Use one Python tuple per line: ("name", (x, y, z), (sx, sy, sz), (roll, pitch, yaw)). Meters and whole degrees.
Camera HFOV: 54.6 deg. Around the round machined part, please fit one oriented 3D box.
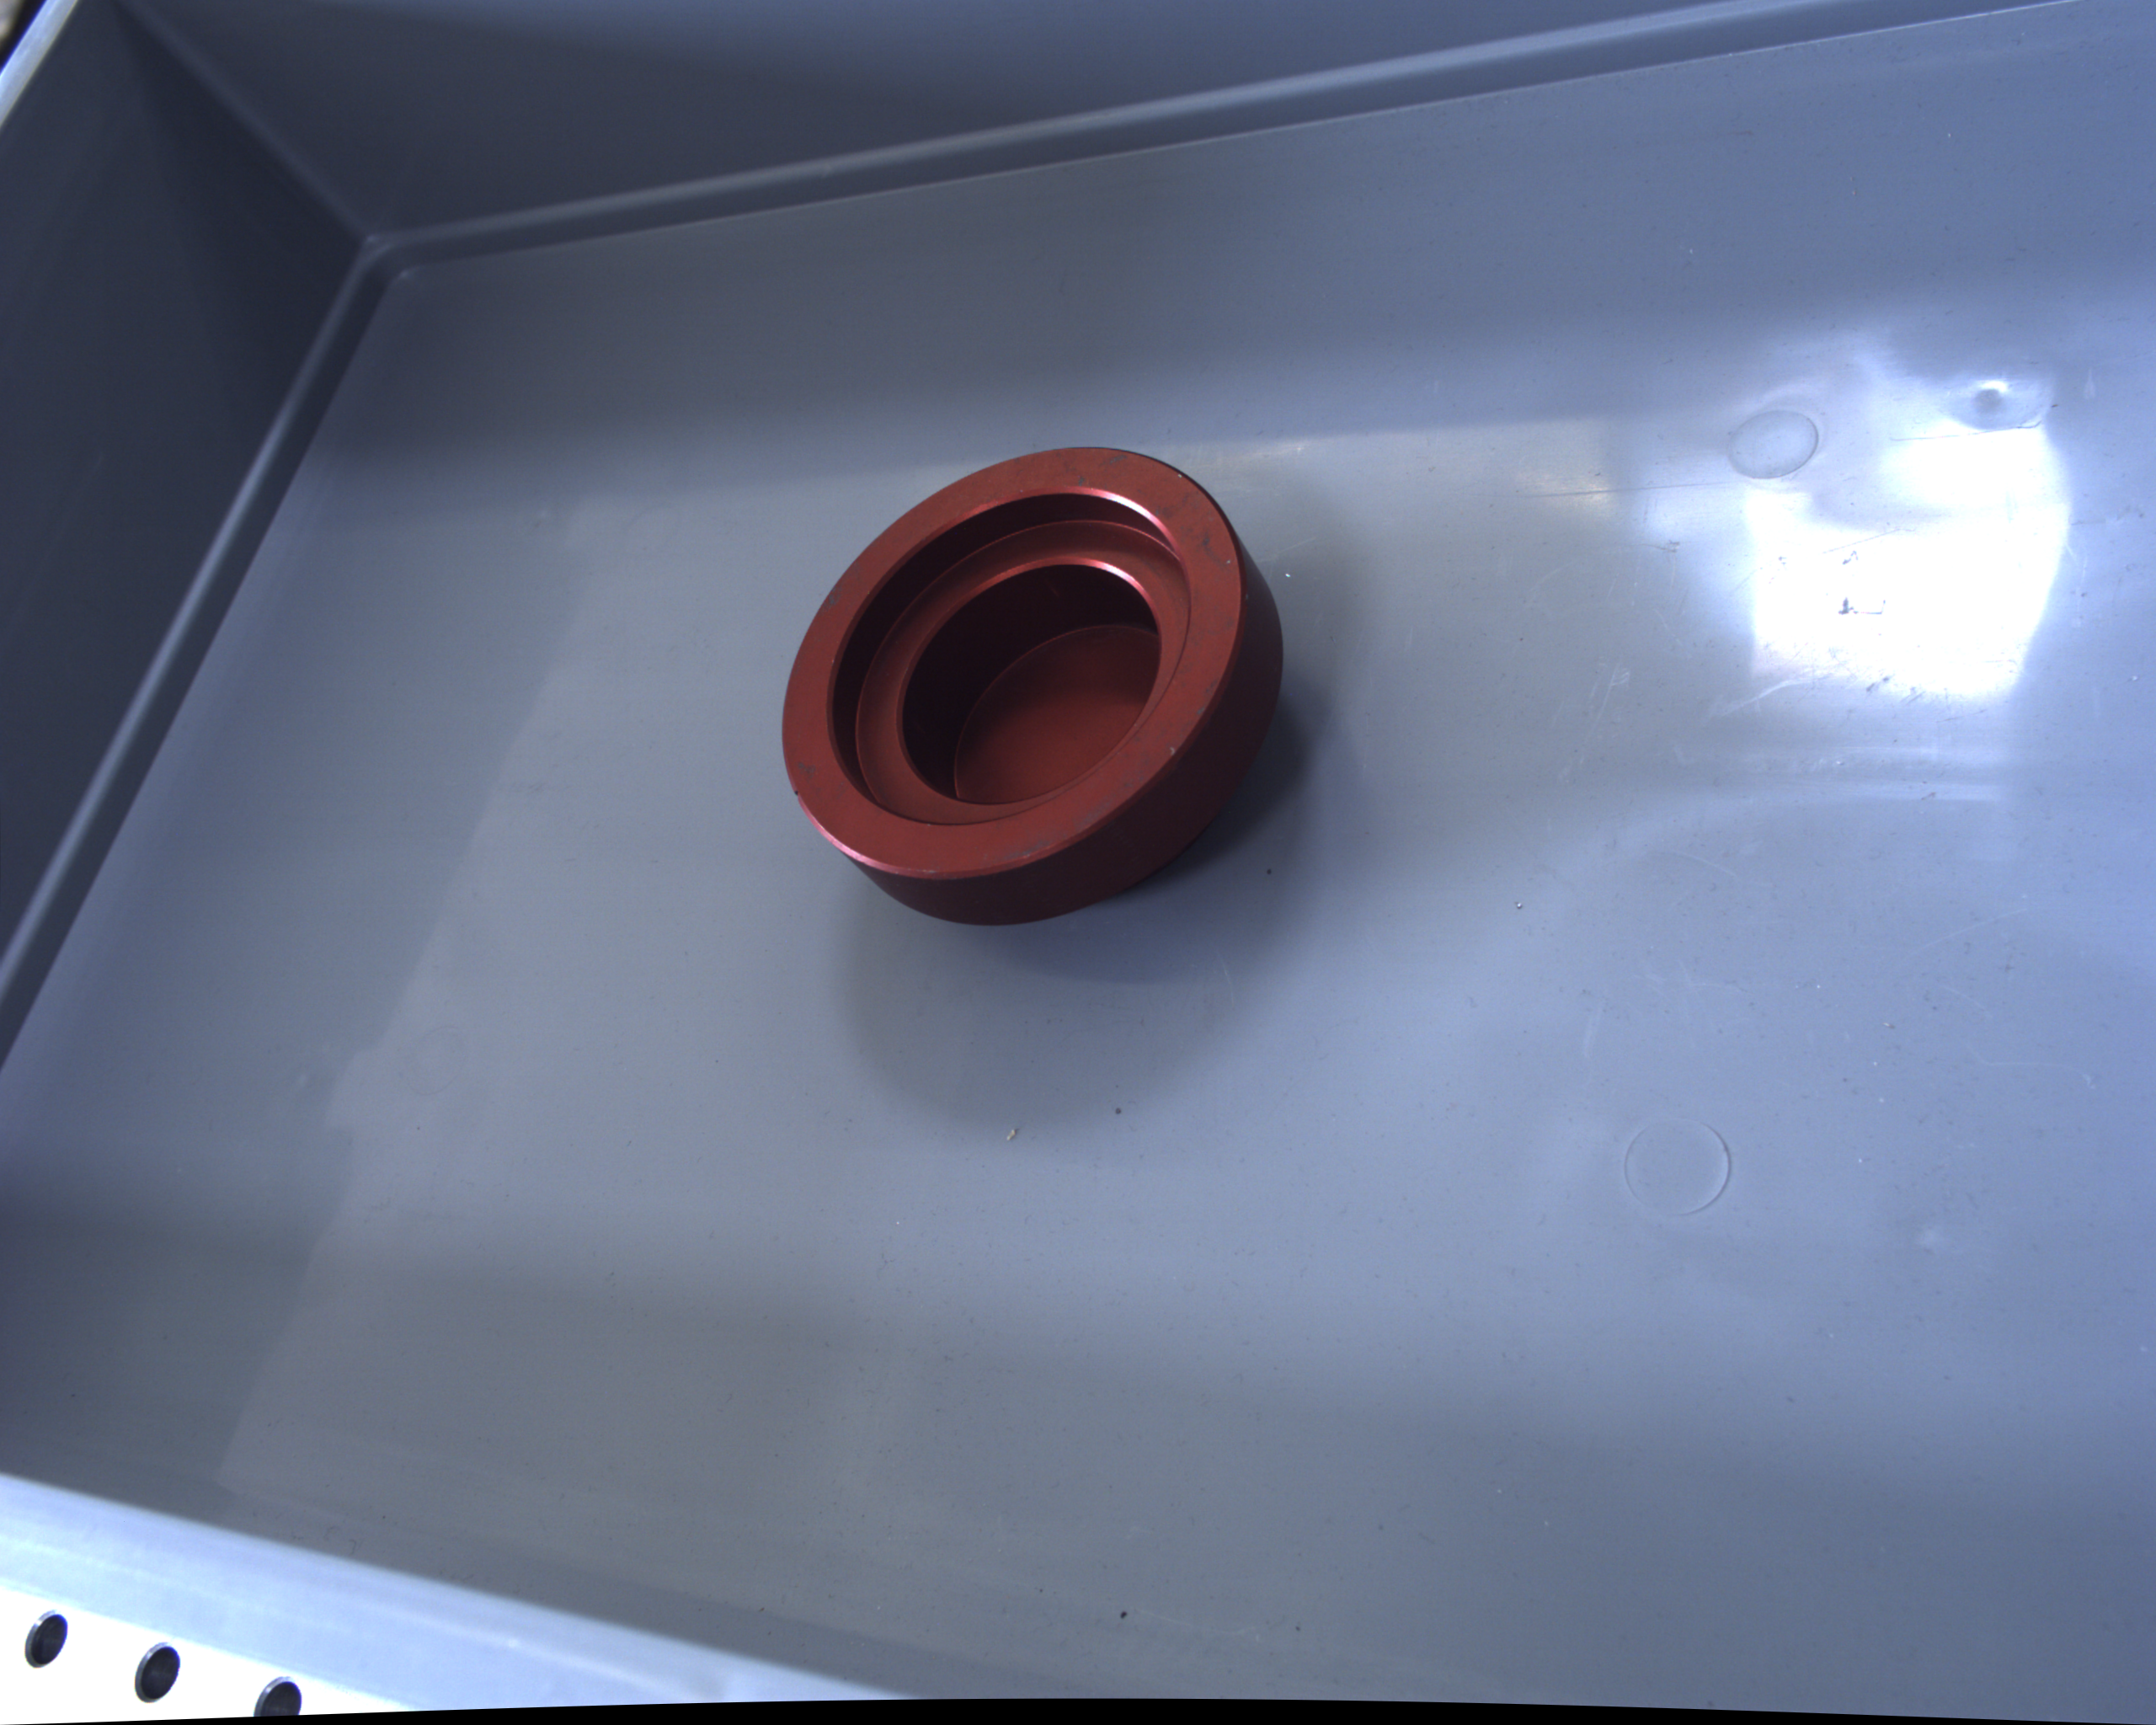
("round machined part", (-0.006, -0.031, 0.414), (0.098, 0.042, 0.098), (-13, 56, 21))
